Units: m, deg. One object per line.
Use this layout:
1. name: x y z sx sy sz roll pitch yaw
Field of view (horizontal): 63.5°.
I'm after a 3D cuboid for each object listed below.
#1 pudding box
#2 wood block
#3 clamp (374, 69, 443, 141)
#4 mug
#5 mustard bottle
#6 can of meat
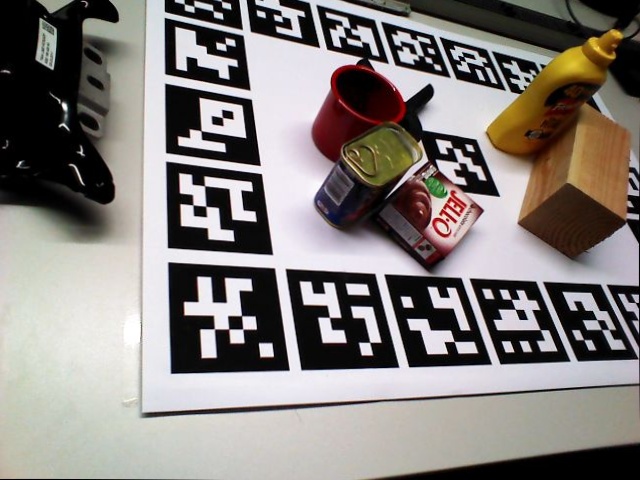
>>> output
1. pudding box: 0.149 -0.016 0.594 0.090 0.039 0.113 45 51 6
2. wood block: 0.377 -0.068 0.707 0.090 0.091 0.204 34 50 0
3. clamp: 0.119 -0.160 0.676 0.122 0.037 0.164 22 55 -14
4. mug: 0.051 -0.133 0.621 0.093 0.082 0.116 24 55 -11
5. mustard bottle: 0.345 -0.187 0.696 0.096 0.193 0.058 -1 61 -25
6. can of meat: 0.067 -0.055 0.543 0.101 0.084 0.058 -28 76 -36
